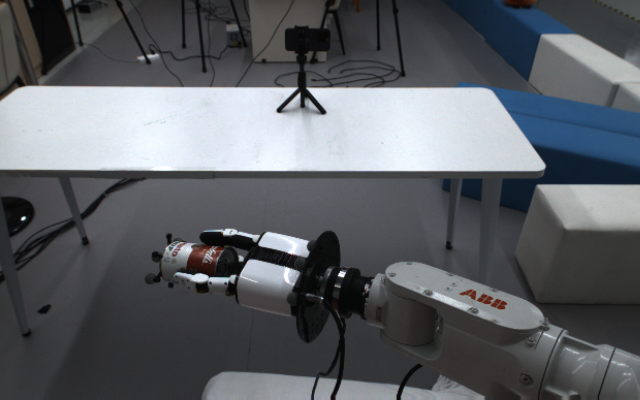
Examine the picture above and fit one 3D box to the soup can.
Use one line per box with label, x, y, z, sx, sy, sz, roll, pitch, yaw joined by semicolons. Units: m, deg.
soup can;-0.184;0.103;0.748;0.101;0.067;0.067;4;34;20
